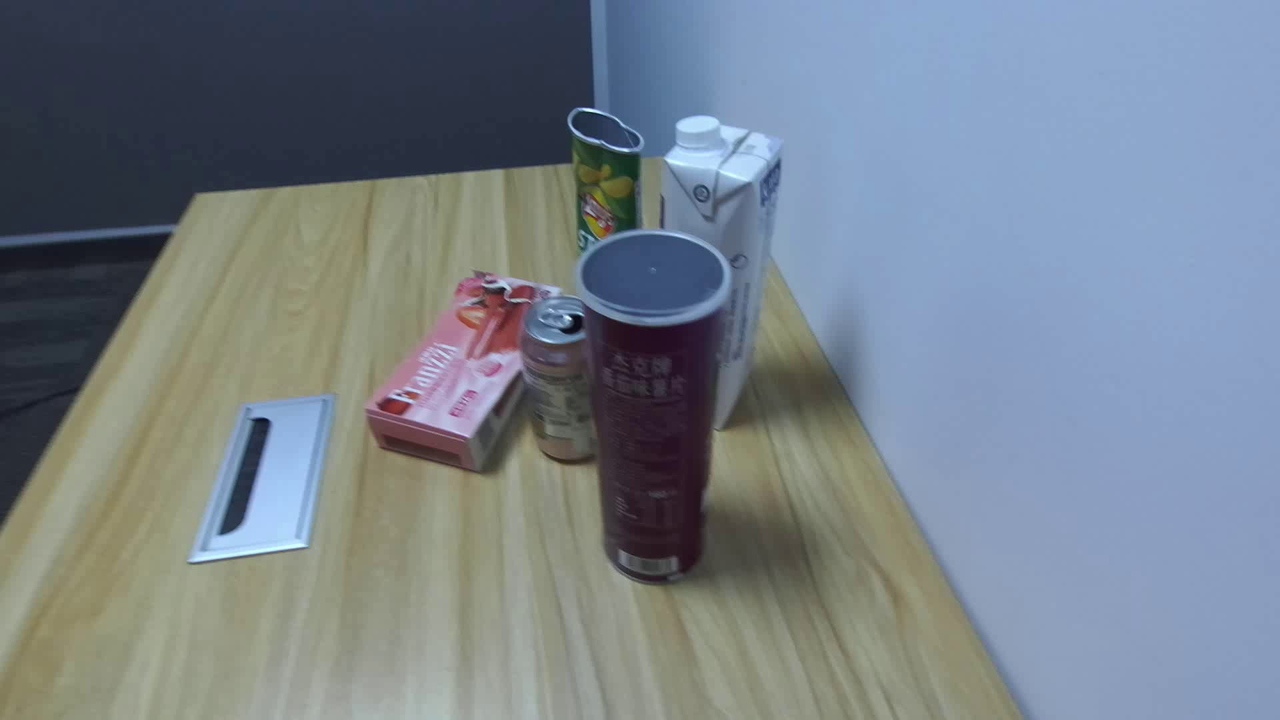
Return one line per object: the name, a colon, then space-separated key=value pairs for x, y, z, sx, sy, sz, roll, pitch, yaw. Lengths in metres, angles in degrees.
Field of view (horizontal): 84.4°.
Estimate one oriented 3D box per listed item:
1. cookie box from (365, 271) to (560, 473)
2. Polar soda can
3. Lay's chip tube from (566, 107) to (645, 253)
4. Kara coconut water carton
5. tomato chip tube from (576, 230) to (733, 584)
cookie box: x=-0.145 y=0.002 z=0.619 sx=0.105 sy=0.059 sz=0.186 roll=9 pitch=45 yaw=14
Polar soda can: x=-0.059 y=0.018 z=0.572 sx=0.067 sy=0.126 sz=0.067 roll=0 pitch=40 yaw=0
Lay's chip tube: x=-0.024 y=-0.110 z=0.629 sx=0.074 sy=0.200 sz=0.069 roll=9 pitch=42 yaw=12
Kara coconut water carton: x=0.055 y=-0.060 z=0.542 sx=0.075 sy=0.245 sz=0.077 roll=19 pitch=45 yaw=18
tomato chip tube: x=0.009 y=0.043 z=0.436 sx=0.078 sy=0.234 sz=0.078 roll=-1 pitch=42 yaw=1
